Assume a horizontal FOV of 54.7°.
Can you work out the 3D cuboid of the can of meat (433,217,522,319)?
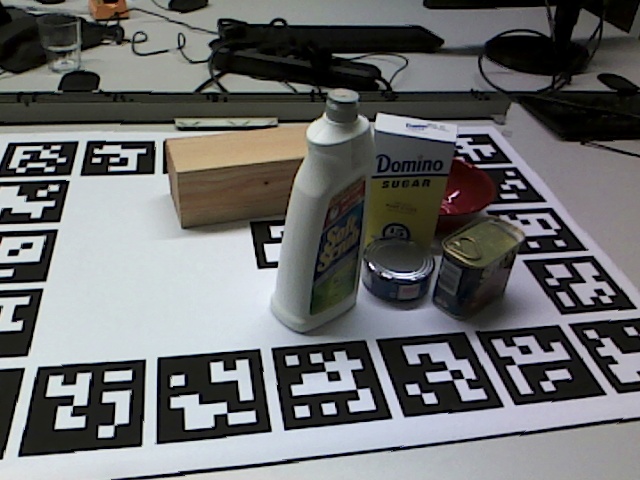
[{"bbox_3d":[0.179,0.032,0.716,0.101,0.083,0.058,-24,42,-35],"label":"can of meat"}]

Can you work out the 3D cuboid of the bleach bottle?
[{"bbox_3d":[0.004,-0.027,0.631,0.102,0.250,0.068,-22,43,-31],"label":"bleach bottle"}]

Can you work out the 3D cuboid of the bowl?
[{"bbox_3d":[0.162,-0.062,0.858,0.161,0.055,0.162,0,37,0],"label":"bowl"}]

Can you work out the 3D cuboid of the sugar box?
[{"bbox_3d":[0.104,-0.058,0.741,0.093,0.176,0.045,7,38,8],"label":"sugar box"}]

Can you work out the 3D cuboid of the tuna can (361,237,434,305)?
[{"bbox_3d":[0.089,0.036,0.731,0.086,0.033,0.086,3,40,-3],"label":"tuna can"}]

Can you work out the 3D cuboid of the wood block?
[{"bbox_3d":[-0.099,-0.086,0.837,0.205,0.090,0.091,-9,43,-19],"label":"wood block"}]
